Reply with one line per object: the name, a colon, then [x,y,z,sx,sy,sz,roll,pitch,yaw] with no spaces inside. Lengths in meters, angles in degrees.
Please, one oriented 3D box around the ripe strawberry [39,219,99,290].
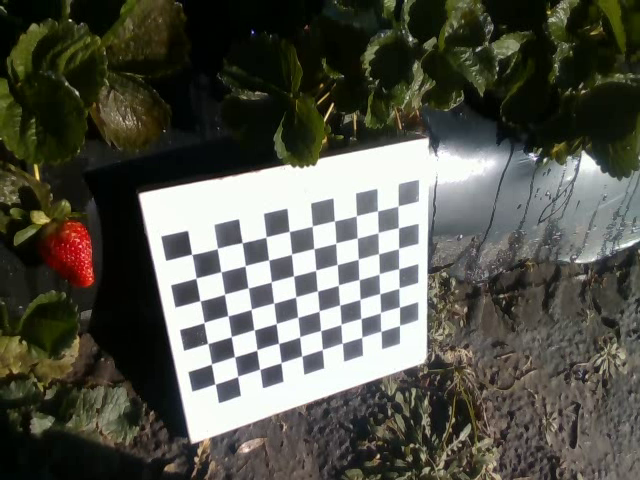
ripe strawberry: [-0.207,0.013,0.507,0.048,0.069,0.040,-30,23,-10]
